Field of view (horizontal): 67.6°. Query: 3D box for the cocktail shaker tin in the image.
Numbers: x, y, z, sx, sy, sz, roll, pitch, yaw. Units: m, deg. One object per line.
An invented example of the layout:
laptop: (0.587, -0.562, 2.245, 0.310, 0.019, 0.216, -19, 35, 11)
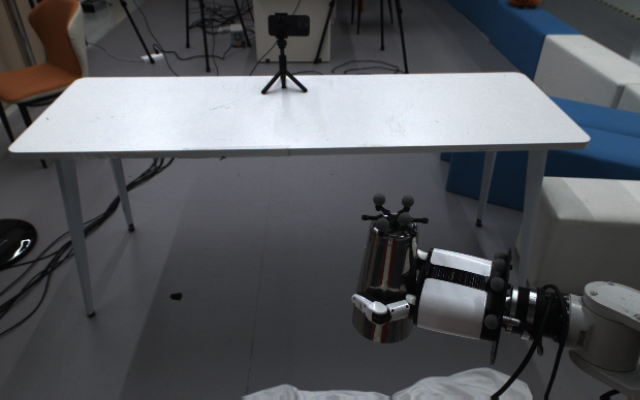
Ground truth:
cocktail shaker tin: (0.099, 0.107, 0.692, 0.093, 0.170, 0.093, 2, 28, -1)
